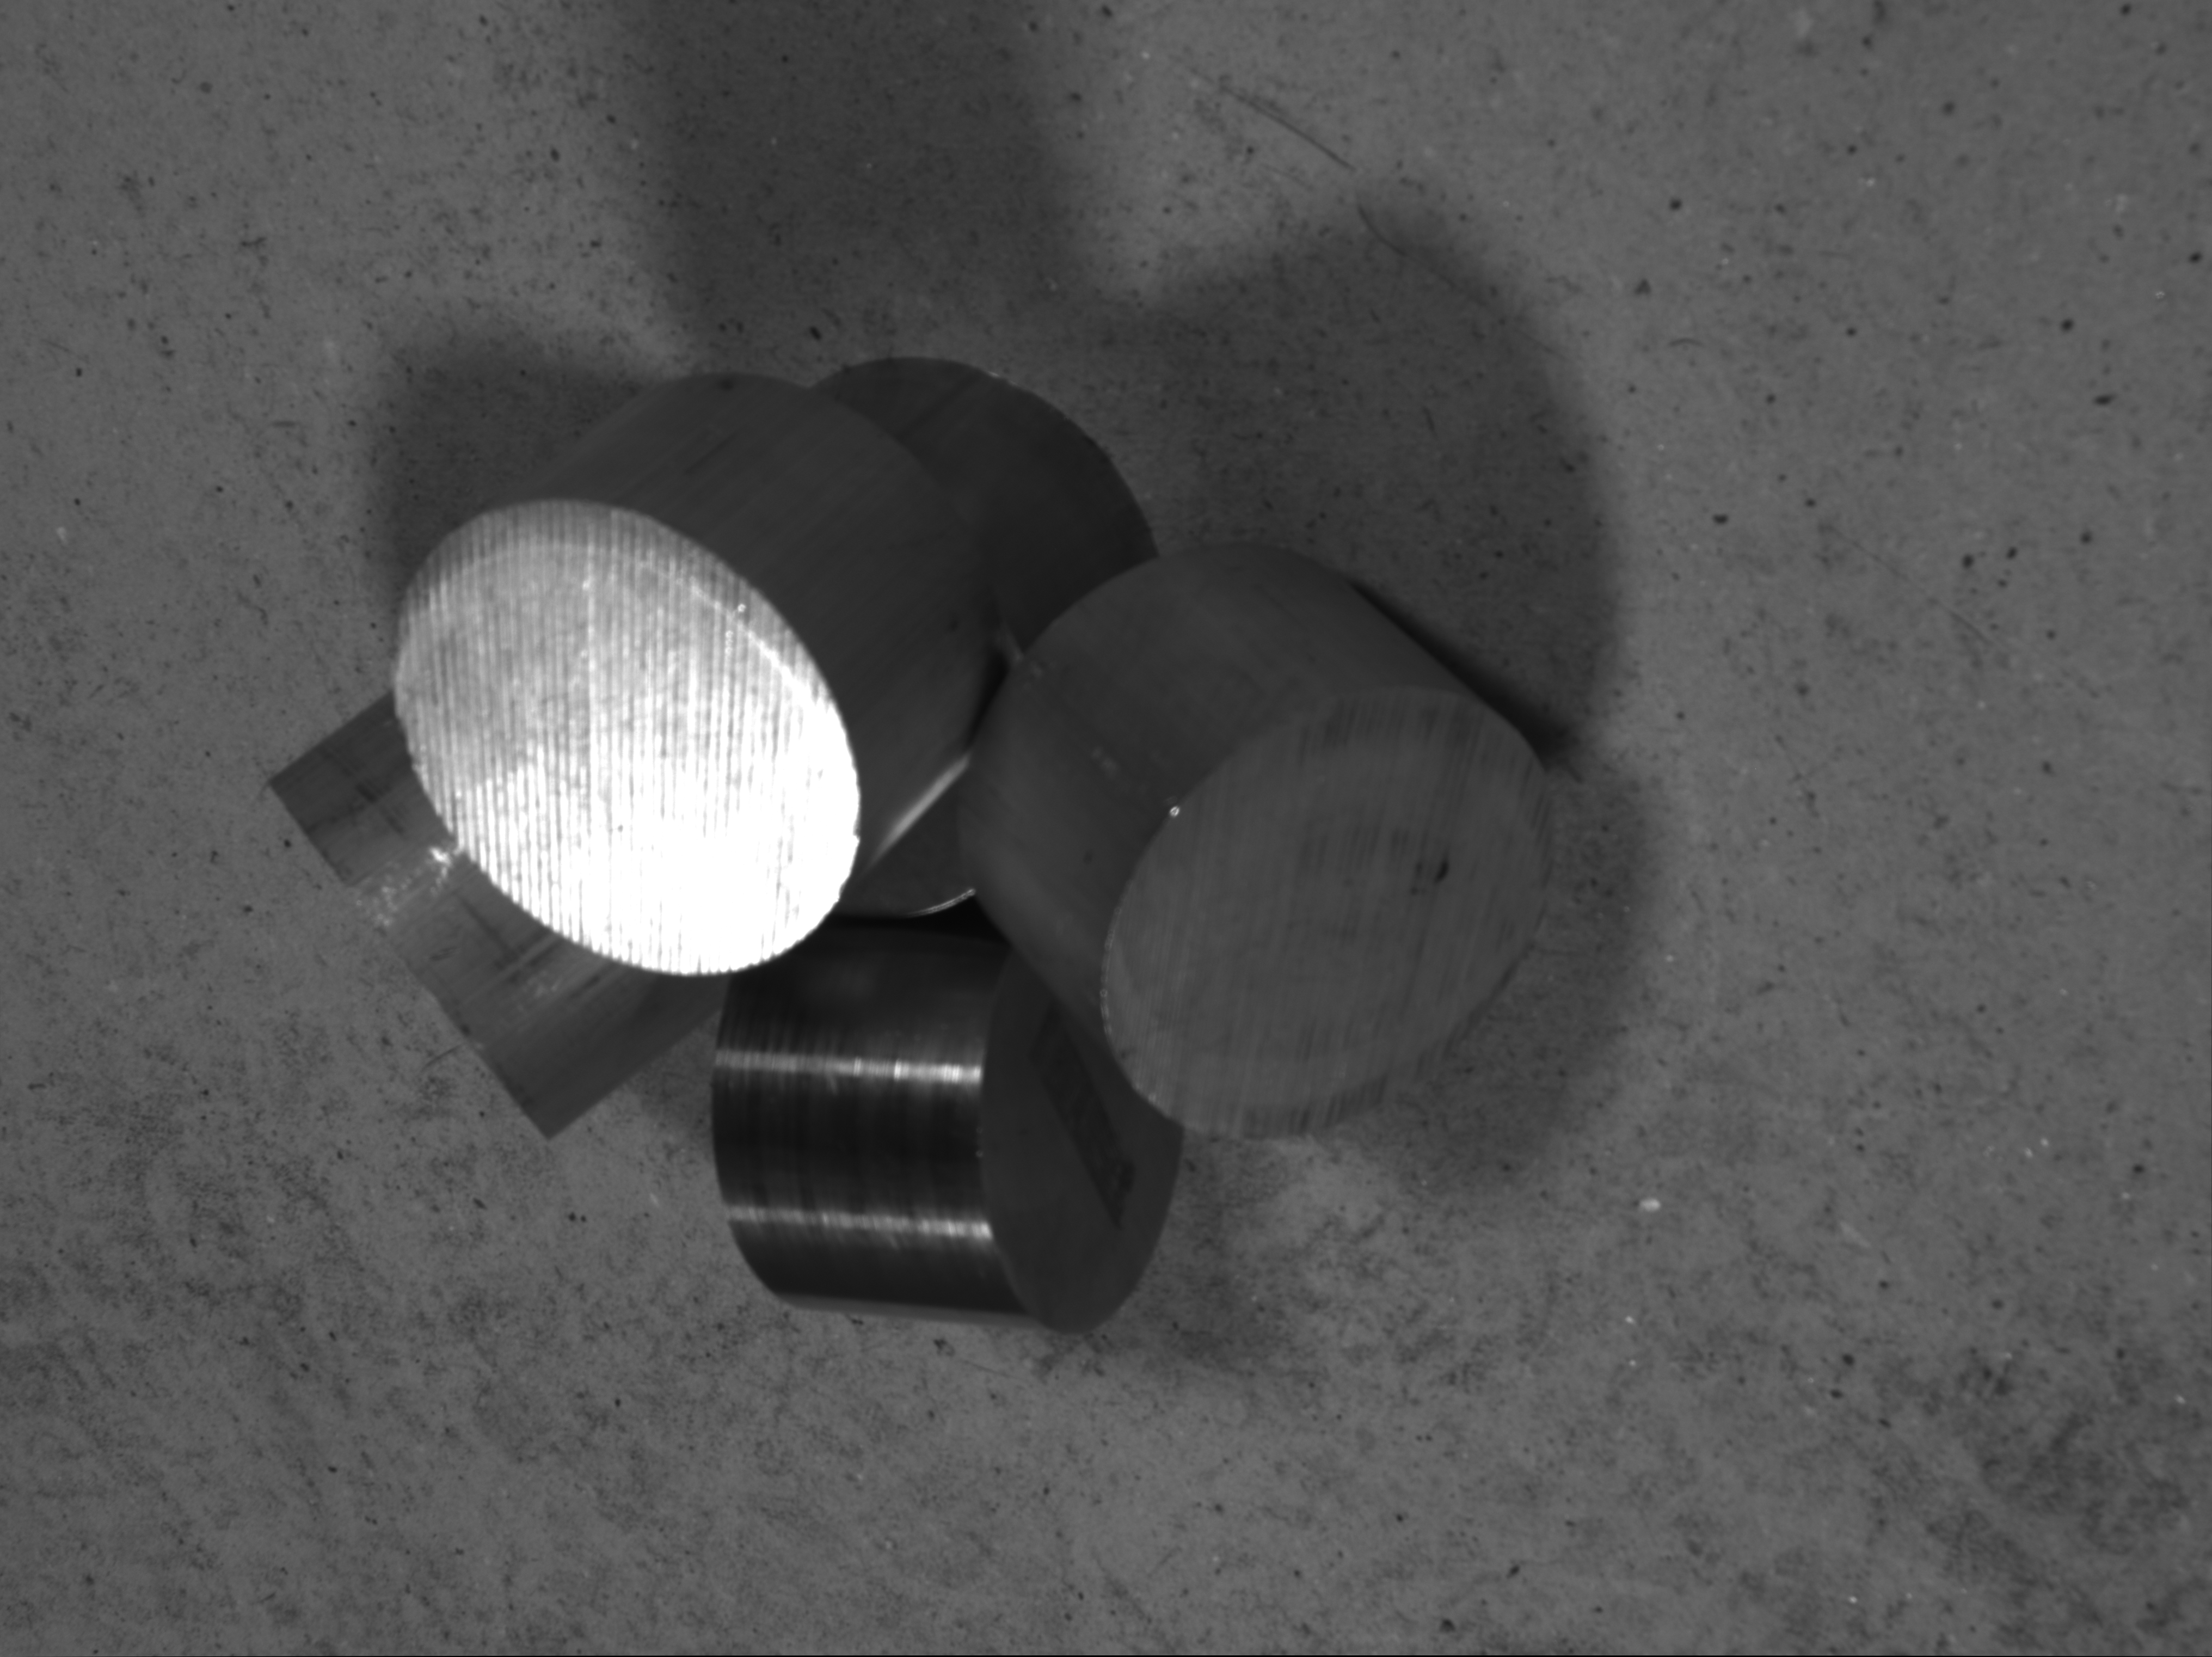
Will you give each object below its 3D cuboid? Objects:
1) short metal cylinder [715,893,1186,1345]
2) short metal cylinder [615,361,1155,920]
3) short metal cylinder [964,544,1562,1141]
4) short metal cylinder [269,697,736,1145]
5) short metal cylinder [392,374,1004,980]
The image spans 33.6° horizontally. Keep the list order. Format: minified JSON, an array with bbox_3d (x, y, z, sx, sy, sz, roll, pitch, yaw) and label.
[{"bbox_3d":[-0.025,0.047,0.636,0.050,0.080,0.080,2,119,26],"label":"short metal cylinder"},{"bbox_3d":[-0.036,-0.032,0.615,0.080,0.050,0.080,12,123,20],"label":"short metal cylinder"},{"bbox_3d":[0.024,0.002,0.578,0.050,0.080,0.080,45,142,48],"label":"short metal cylinder"},{"bbox_3d":[-0.103,0.009,0.647,0.080,0.050,0.080,51,171,12],"label":"short metal cylinder"},{"bbox_3d":[-0.063,-0.024,0.568,0.080,0.050,0.080,12,123,20],"label":"short metal cylinder"}]
